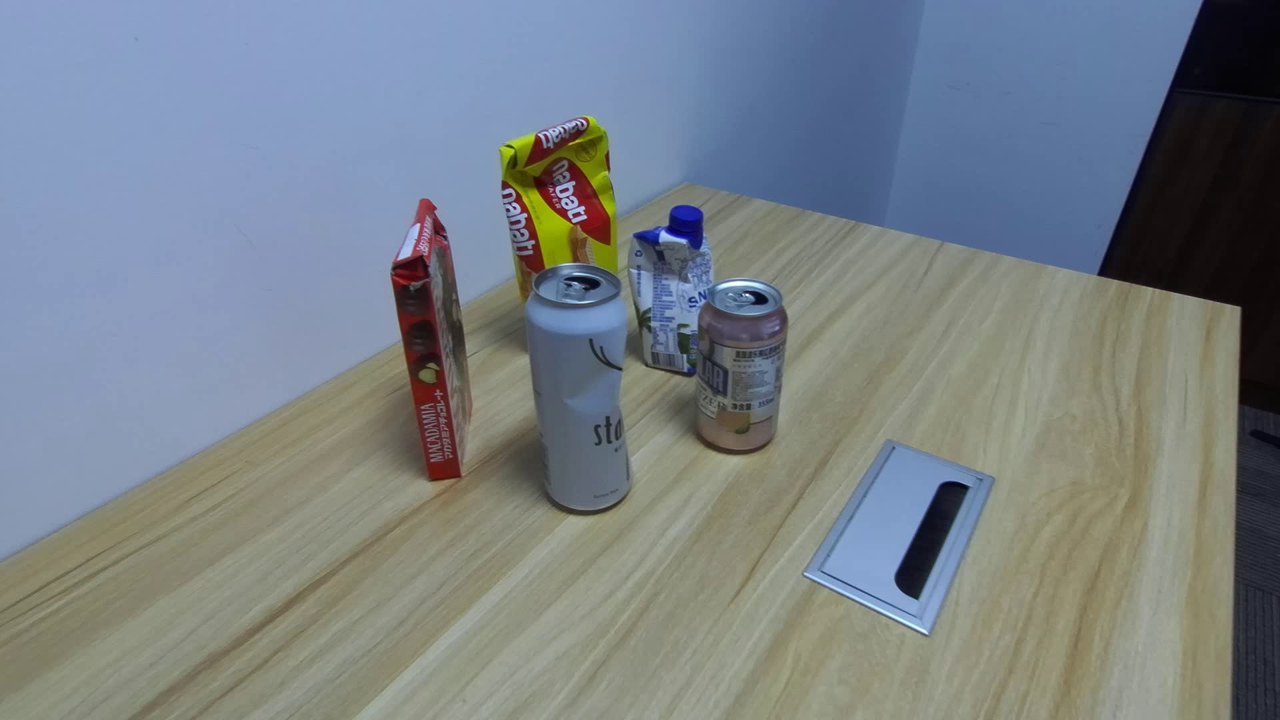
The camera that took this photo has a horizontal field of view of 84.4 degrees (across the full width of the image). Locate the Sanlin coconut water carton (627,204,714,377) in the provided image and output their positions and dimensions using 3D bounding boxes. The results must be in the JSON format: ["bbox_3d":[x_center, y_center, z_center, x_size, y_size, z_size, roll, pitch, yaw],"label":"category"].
[{"bbox_3d":[0.030,-0.065,0.627,0.068,0.145,0.057,5,27,23],"label":"Sanlin coconut water carton"}]

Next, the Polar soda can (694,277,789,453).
[{"bbox_3d":[0.076,0.006,0.538,0.067,0.126,0.067,-2,32,1],"label":"Polar soda can"}]

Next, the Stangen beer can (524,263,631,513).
[{"bbox_3d":[-0.036,0.021,0.477,0.069,0.173,0.070,16,37,26],"label":"Stangen beer can"}]

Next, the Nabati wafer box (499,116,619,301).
[{"bbox_3d":[-0.065,-0.102,0.630,0.042,0.205,0.113,21,42,31],"label":"Nabati wafer box"}]

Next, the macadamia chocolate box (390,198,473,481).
[{"bbox_3d":[-0.149,-0.014,0.519,0.027,0.187,0.102,-2,34,-6],"label":"macadamia chocolate box"}]
